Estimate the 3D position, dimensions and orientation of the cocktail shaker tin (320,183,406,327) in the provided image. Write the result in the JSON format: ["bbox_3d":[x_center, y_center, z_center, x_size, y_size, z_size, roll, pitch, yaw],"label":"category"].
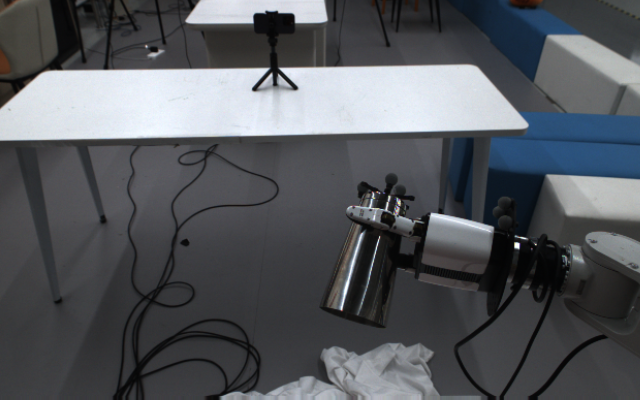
[{"bbox_3d":[0.068,0.076,0.666,0.093,0.093,0.170,13,71,15],"label":"cocktail shaker tin"}]
